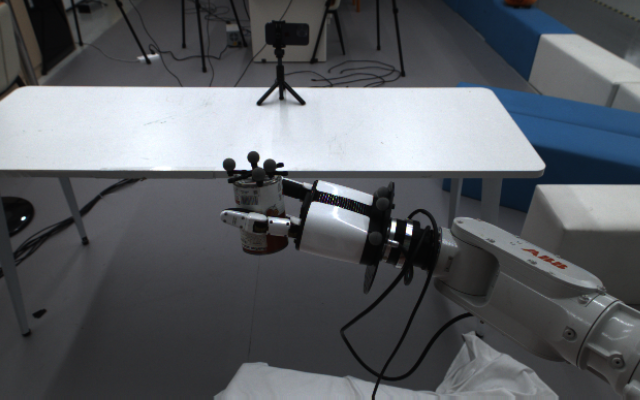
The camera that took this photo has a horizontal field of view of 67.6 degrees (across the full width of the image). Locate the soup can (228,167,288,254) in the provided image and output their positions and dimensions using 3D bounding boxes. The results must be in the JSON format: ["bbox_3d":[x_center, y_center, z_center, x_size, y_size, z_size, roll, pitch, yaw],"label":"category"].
[{"bbox_3d":[-0.079,0.017,0.665,0.067,0.101,0.067,-4,21,2],"label":"soup can"}]
